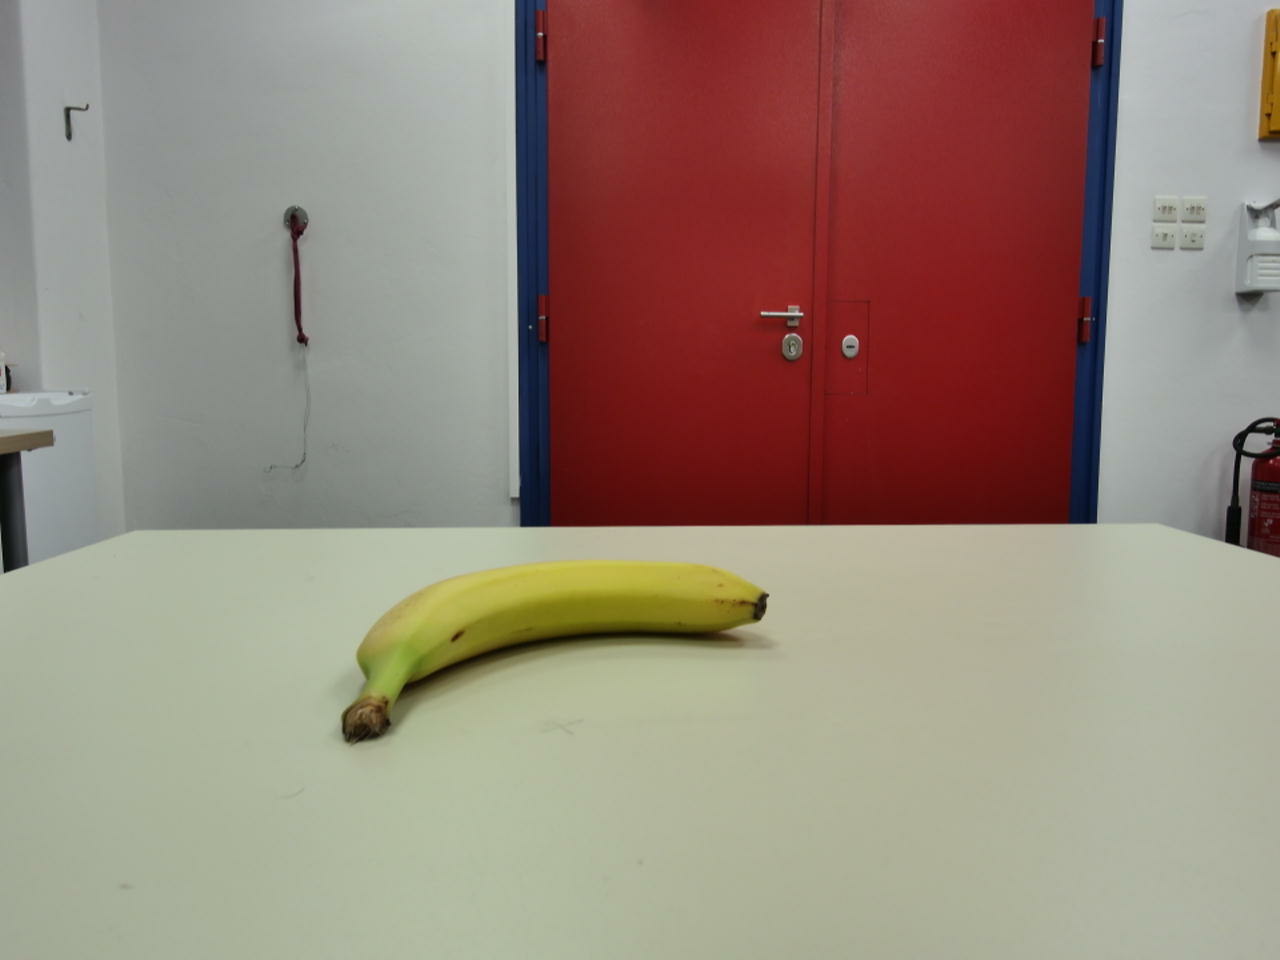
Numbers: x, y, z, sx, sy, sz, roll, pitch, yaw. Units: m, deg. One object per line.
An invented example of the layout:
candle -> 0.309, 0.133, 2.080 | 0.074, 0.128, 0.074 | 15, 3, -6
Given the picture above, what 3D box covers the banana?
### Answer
banana -> -0.044, 0.060, 0.422 | 0.196, 0.041, 0.094 | -3, 5, -36
